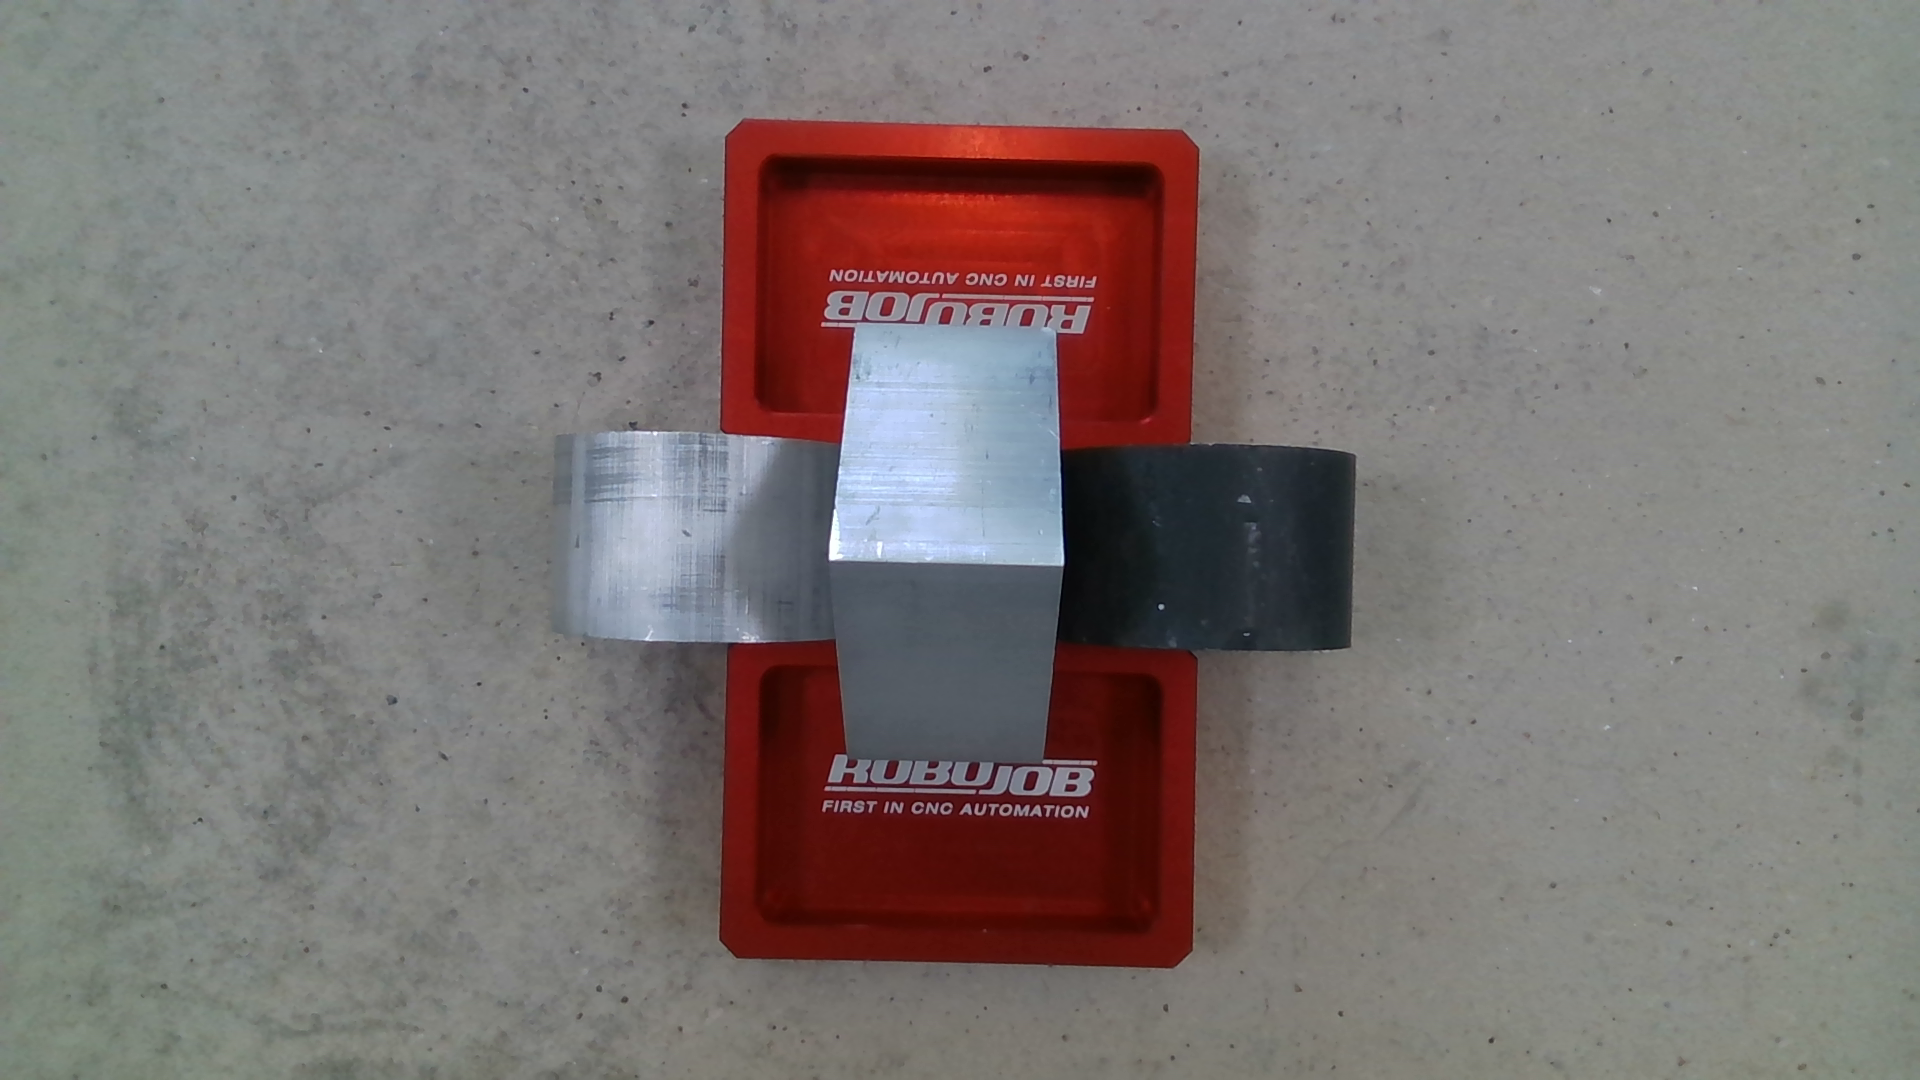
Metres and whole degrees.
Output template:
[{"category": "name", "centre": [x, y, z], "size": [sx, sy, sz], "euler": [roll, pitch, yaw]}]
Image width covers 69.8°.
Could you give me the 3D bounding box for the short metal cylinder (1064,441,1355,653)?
[{"category": "short metal cylinder", "centre": [0.064, 0.002, 0.368], "size": [0.080, 0.080, 0.050], "euler": [2, 90, 0]}]

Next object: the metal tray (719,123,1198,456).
[{"category": "metal tray", "centre": [0.000, -0.068, 0.393], "size": [0.130, 0.030, 0.090], "euler": [1, 90, 0]}]

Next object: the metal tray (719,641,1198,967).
[{"category": "metal tray", "centre": [0.000, 0.071, 0.394], "size": [0.130, 0.030, 0.090], "euler": [1, 90, 0]}]

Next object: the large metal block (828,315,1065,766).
[{"category": "large metal block", "centre": [-0.002, 0.001, 0.348], "size": [0.050, 0.080, 0.080], "euler": [1, 50, 1]}]

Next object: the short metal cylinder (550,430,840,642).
[{"category": "short metal cylinder", "centre": [-0.067, -0.001, 0.368], "size": [0.080, 0.080, 0.050], "euler": [2, 90, 0]}]
